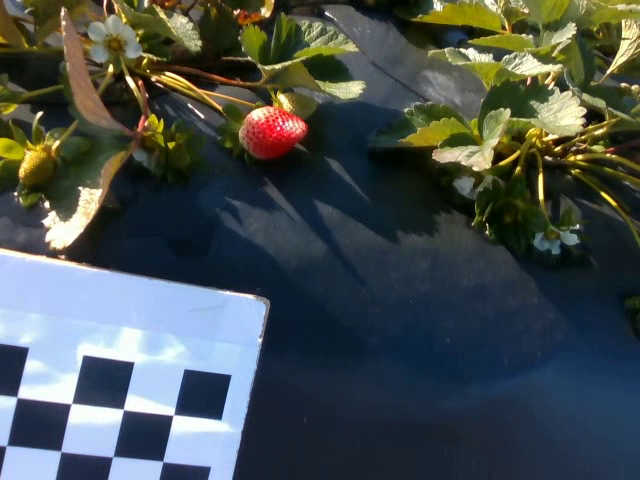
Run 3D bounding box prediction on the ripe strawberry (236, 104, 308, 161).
[{"bbox_3d":[-0.022,-0.057,0.300,0.042,0.037,0.045,-8,3,-42],"label":"ripe strawberry"}]
